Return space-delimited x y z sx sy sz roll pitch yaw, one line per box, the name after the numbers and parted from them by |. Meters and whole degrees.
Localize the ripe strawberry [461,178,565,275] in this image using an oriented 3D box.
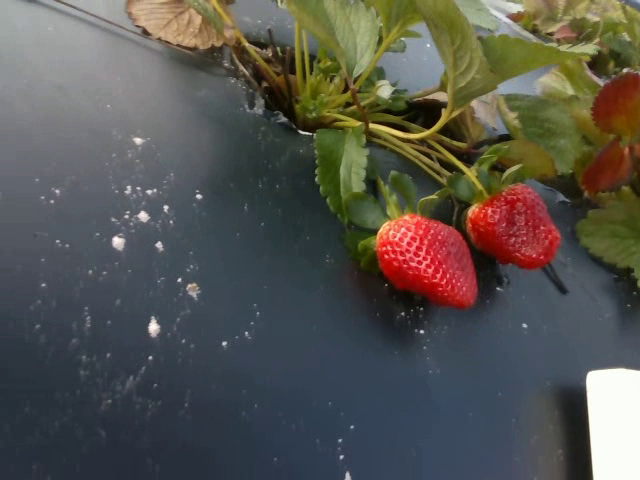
0.102 -0.009 0.324 0.042 0.034 0.053 -6 42 -24 | ripe strawberry

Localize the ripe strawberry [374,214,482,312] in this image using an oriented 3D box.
0.052 0.010 0.285 0.050 0.045 0.061 -1 37 -22 | ripe strawberry
